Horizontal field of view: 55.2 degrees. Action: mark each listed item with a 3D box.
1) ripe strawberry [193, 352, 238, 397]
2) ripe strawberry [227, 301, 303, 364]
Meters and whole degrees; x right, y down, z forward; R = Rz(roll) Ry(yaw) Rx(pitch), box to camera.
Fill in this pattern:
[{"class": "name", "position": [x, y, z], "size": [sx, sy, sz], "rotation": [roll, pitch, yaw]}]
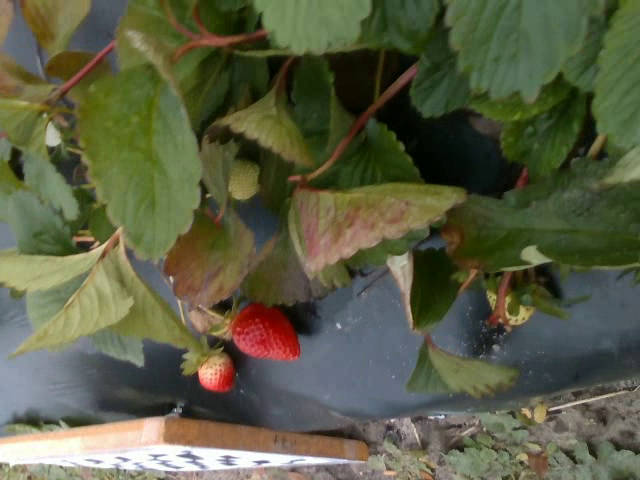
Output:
[{"class": "ripe strawberry", "position": [-0.079, 0.101, 0.454], "size": [0.036, 0.027, 0.040], "rotation": [-6, -41, 40]}, {"class": "ripe strawberry", "position": [-0.036, 0.064, 0.397], "size": [0.059, 0.041, 0.044], "rotation": [25, -13, 3]}]
